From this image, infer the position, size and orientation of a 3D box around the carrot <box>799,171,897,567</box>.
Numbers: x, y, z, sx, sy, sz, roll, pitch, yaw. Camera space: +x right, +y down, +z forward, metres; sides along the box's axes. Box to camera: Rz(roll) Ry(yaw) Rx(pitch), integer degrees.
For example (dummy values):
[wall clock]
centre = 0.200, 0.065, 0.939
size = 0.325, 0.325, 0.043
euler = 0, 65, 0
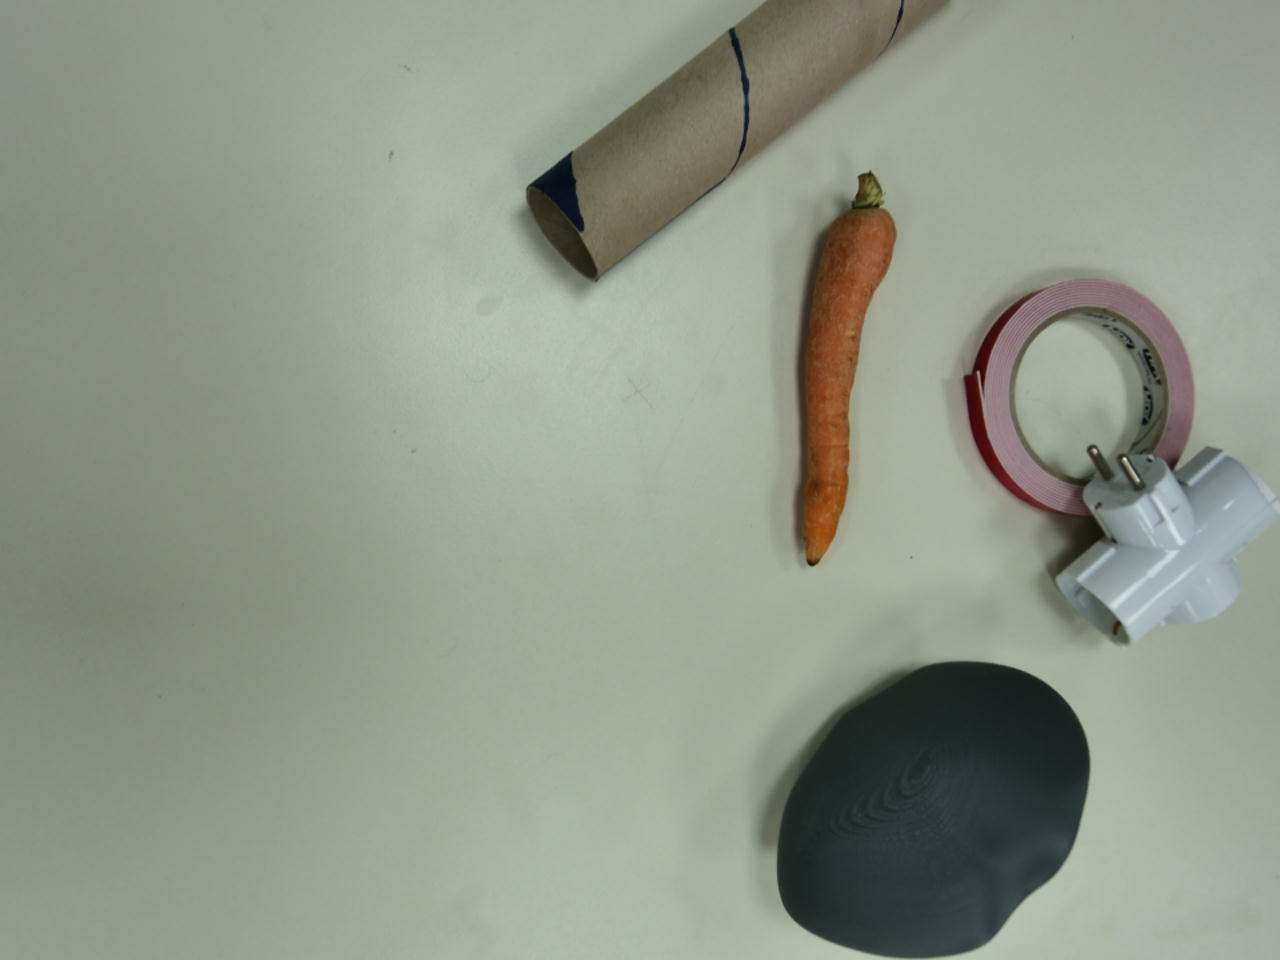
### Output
[carrot]
centre = 0.088, -0.048, 0.441
size = 0.030, 0.032, 0.173
euler = 10, 89, -11
